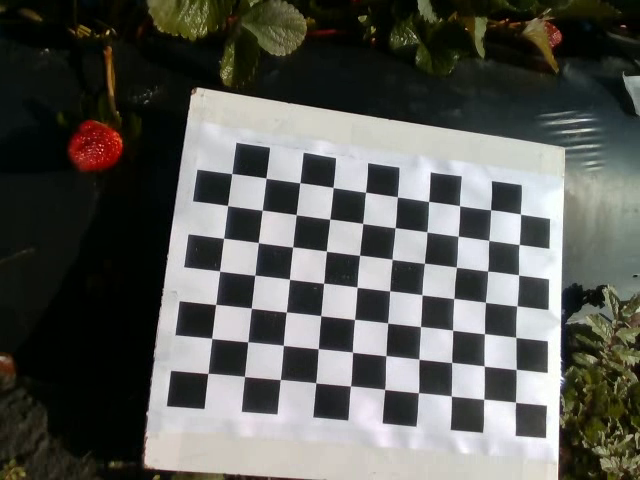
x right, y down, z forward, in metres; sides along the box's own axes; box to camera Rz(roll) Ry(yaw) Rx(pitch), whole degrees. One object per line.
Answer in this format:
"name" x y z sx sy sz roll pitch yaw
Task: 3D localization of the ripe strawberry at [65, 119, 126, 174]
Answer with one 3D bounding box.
"ripe strawberry" -0.056 -0.024 0.166 0.015 0.015 0.023 15 23 -7
